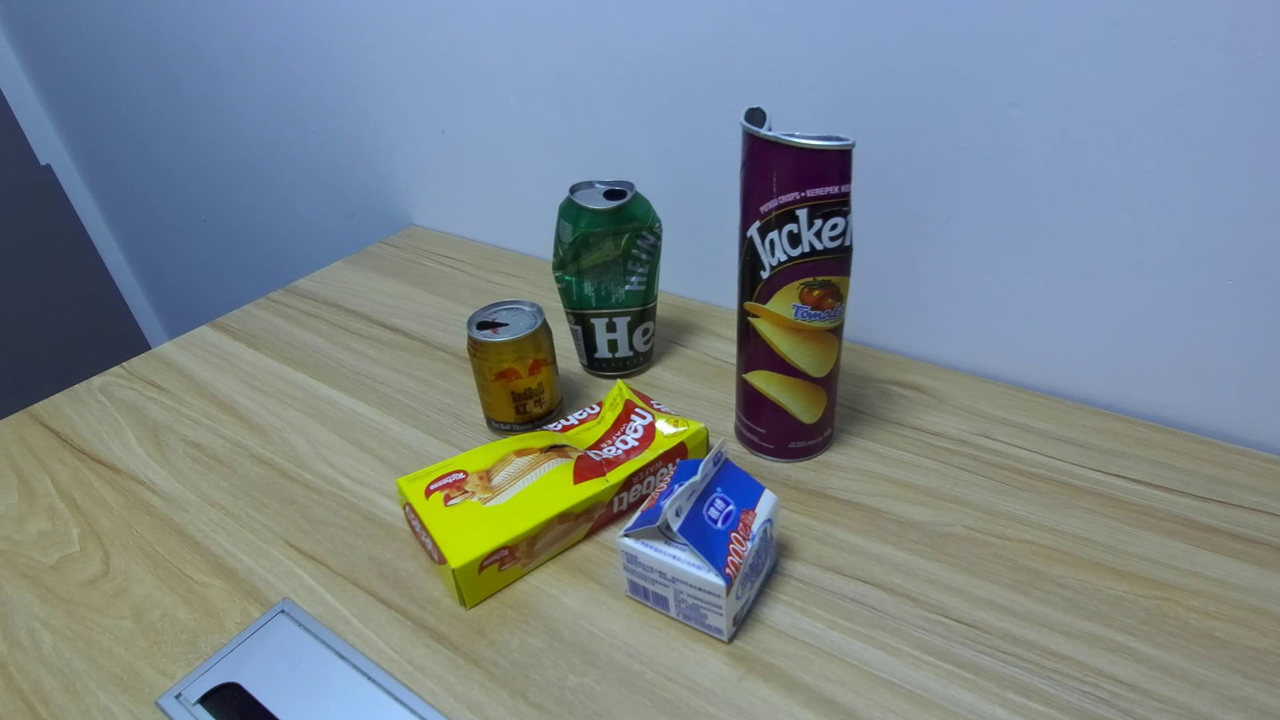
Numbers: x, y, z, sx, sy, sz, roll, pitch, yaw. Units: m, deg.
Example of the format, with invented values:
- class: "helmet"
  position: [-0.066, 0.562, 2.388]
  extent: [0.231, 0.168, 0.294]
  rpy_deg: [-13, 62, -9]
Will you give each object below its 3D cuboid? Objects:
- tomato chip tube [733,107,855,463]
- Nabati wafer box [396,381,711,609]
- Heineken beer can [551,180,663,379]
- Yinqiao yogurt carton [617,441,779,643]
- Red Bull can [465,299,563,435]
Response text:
- class: "tomato chip tube"
  position: [0.103, -0.043, 0.479]
  extent: [0.076, 0.235, 0.078]
  rpy_deg: [5, 34, 16]
- class: "Nabati wafer box"
  position: [-0.056, 0.078, 0.499]
  extent: [0.205, 0.042, 0.106]
  rpy_deg: [-25, 40, -28]
- class: "Heineken beer can"
  position: [-0.028, -0.065, 0.591]
  extent: [0.077, 0.164, 0.066]
  rpy_deg: [24, 44, 31]
- class: "Yinqiao yogurt carton"
  position: [0.035, 0.096, 0.412]
  extent: [0.073, 0.092, 0.076]
  rpy_deg: [15, 37, 29]
- class: "Red Bull can"
  position: [-0.099, 0.008, 0.563]
  extent: [0.067, 0.093, 0.067]
  rpy_deg: [-3, 34, 3]
